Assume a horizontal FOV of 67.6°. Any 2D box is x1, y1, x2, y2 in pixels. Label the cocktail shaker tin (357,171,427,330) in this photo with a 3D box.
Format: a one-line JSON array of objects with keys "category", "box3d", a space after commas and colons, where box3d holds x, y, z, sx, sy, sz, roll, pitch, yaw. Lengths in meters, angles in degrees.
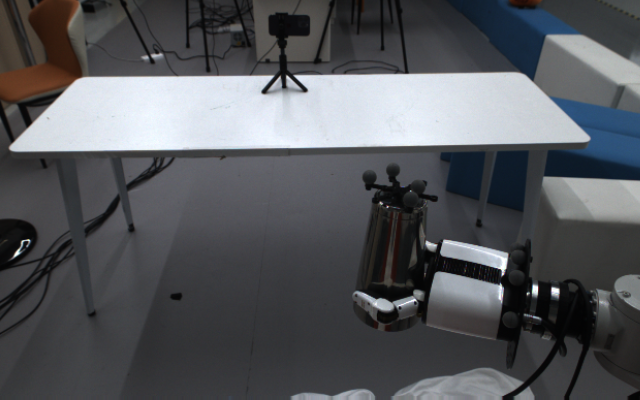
[{"category": "cocktail shaker tin", "box3d": [0.095, 0.072, 0.621, 0.093, 0.170, 0.093, 1, 28, -1]}]
